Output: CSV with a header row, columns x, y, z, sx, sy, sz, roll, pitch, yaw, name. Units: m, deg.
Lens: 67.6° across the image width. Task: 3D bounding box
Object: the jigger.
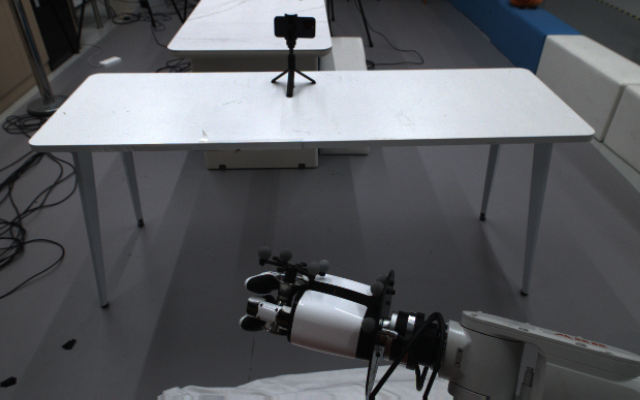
x,y,z,sx,sy,sz,roll,pitch,yaw,name
-0.044,0.138,0.639,0.043,0.071,0.043,14,1,0,jigger
